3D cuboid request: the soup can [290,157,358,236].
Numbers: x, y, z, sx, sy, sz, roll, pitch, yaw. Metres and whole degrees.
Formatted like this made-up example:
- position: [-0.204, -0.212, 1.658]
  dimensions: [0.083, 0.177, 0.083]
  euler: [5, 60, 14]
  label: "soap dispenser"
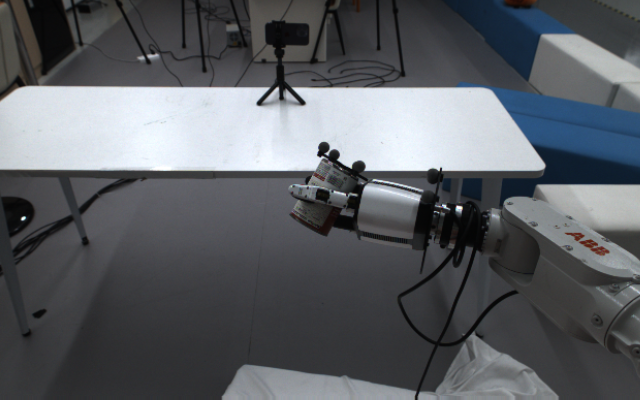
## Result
- position: [0.007, -0.004, 0.746]
  dimensions: [0.067, 0.101, 0.067]
  euler: [30, 2, -1]
  label: "soup can"
